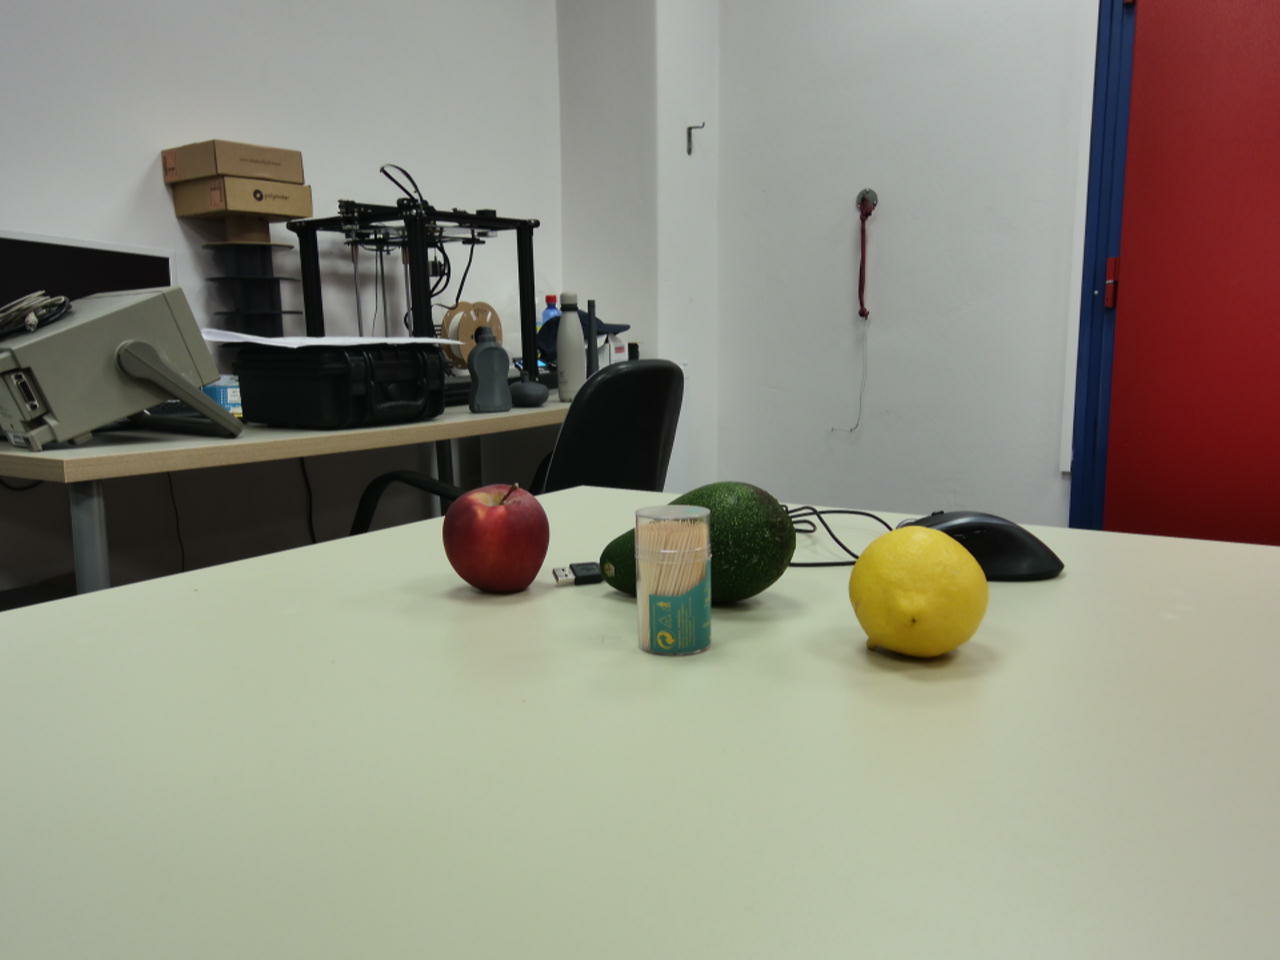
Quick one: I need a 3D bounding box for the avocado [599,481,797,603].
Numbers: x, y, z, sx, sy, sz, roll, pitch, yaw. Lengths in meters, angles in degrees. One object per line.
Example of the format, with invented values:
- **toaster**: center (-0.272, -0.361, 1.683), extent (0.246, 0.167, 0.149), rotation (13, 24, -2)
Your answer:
- **avocado**: center (0.040, 0.037, 0.623), extent (0.123, 0.076, 0.074), rotation (5, 8, 41)
